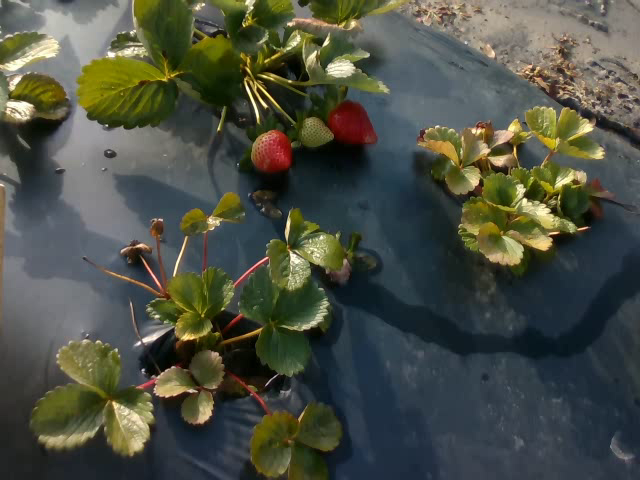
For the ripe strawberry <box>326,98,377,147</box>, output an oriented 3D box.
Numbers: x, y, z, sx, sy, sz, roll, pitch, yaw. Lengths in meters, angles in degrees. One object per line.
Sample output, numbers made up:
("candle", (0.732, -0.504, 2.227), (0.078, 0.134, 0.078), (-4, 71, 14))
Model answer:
("ripe strawberry", (0.036, -0.116, 0.618), (0.049, 0.065, 0.050), (-46, -11, 11))
